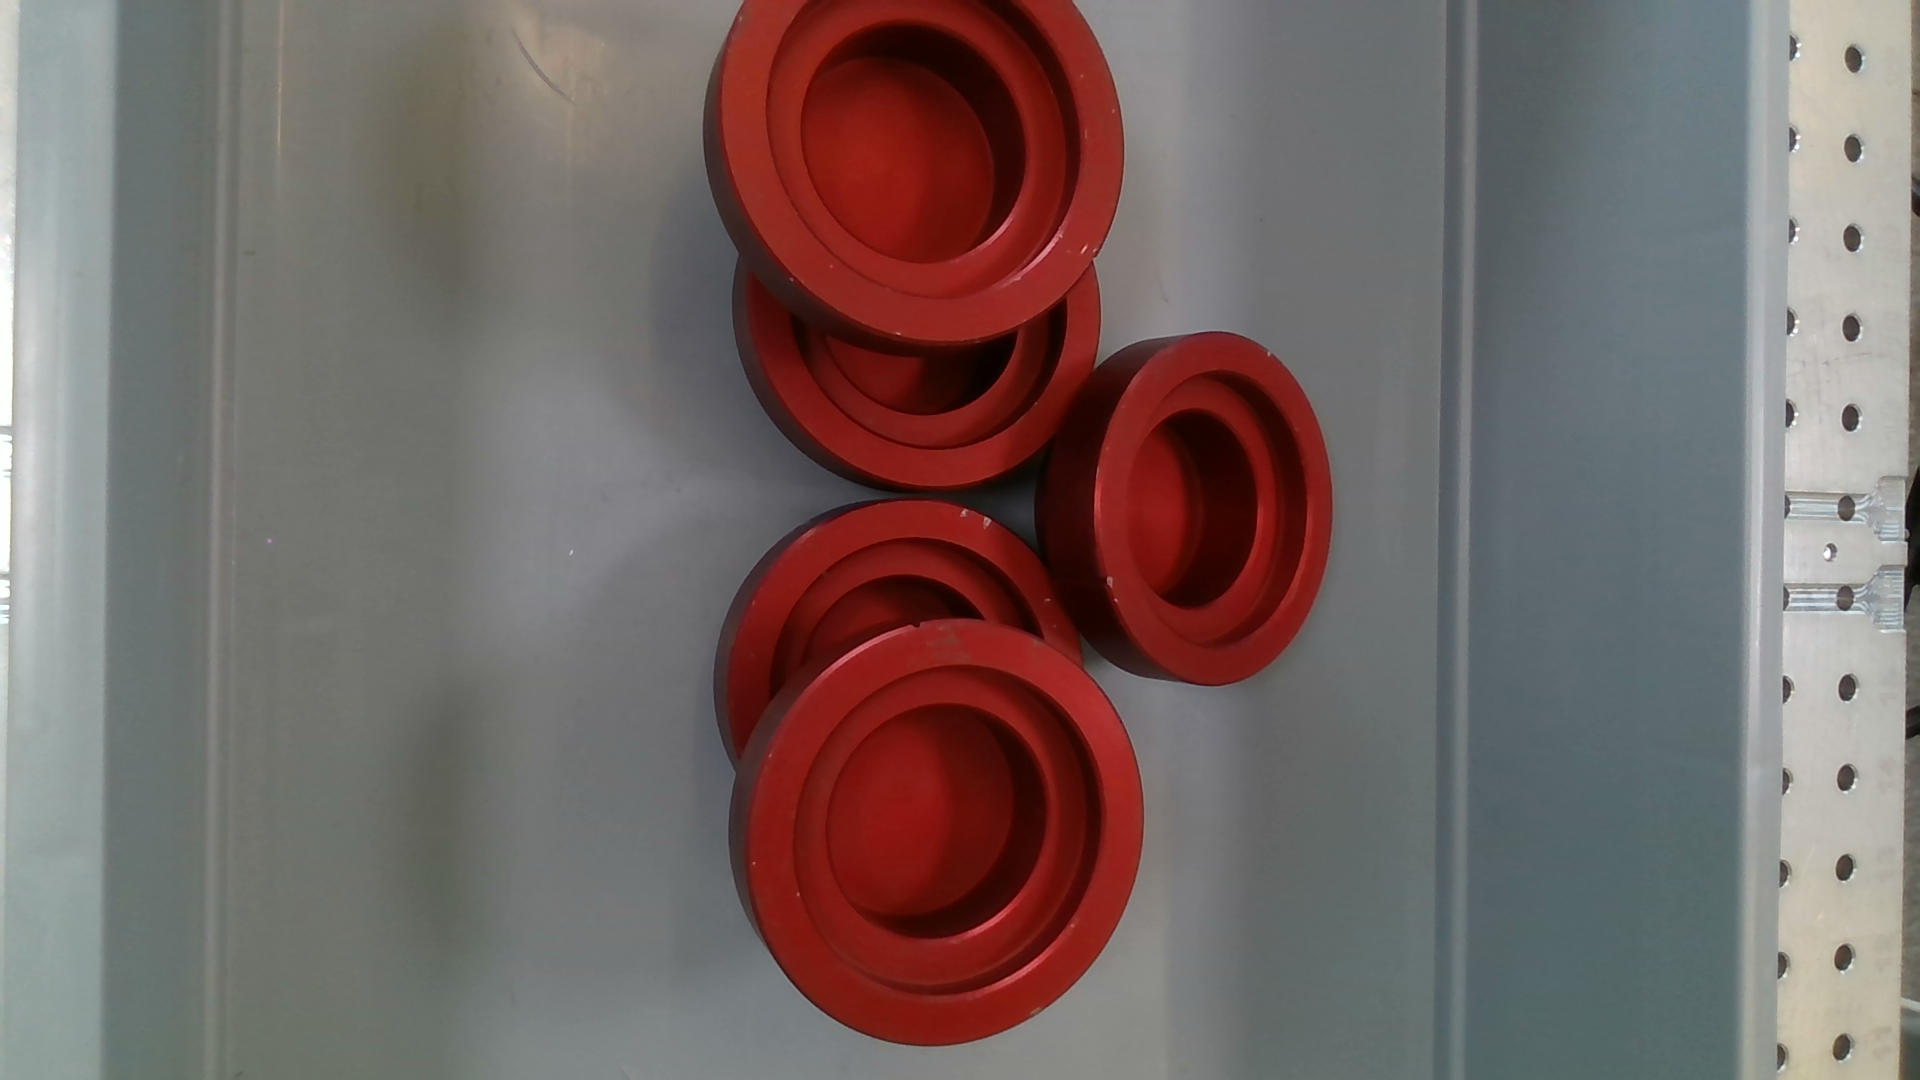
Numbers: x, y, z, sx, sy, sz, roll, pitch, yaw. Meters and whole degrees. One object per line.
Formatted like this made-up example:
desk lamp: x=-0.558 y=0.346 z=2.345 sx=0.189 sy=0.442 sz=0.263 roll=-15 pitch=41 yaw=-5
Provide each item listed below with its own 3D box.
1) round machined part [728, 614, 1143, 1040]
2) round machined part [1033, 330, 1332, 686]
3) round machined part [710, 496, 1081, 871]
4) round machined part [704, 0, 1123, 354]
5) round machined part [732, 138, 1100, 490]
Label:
round machined part: x=-0.008 y=0.067 z=0.337 sx=0.098 sy=0.042 sz=0.098 roll=0 pitch=90 yaw=-20
round machined part: x=0.060 y=-0.009 z=0.395 sx=0.098 sy=0.042 sz=0.098 roll=-1 pitch=92 yaw=-38
round machined part: x=-0.020 y=0.038 z=0.377 sx=0.098 sy=0.042 sz=0.098 roll=0 pitch=90 yaw=-20
round machined part: x=-0.013 y=-0.094 z=0.334 sx=0.098 sy=0.042 sz=0.098 roll=0 pitch=90 yaw=-20
round machined part: x=-0.015 y=-0.062 z=0.379 sx=0.098 sy=0.042 sz=0.098 roll=0 pitch=90 yaw=-20
